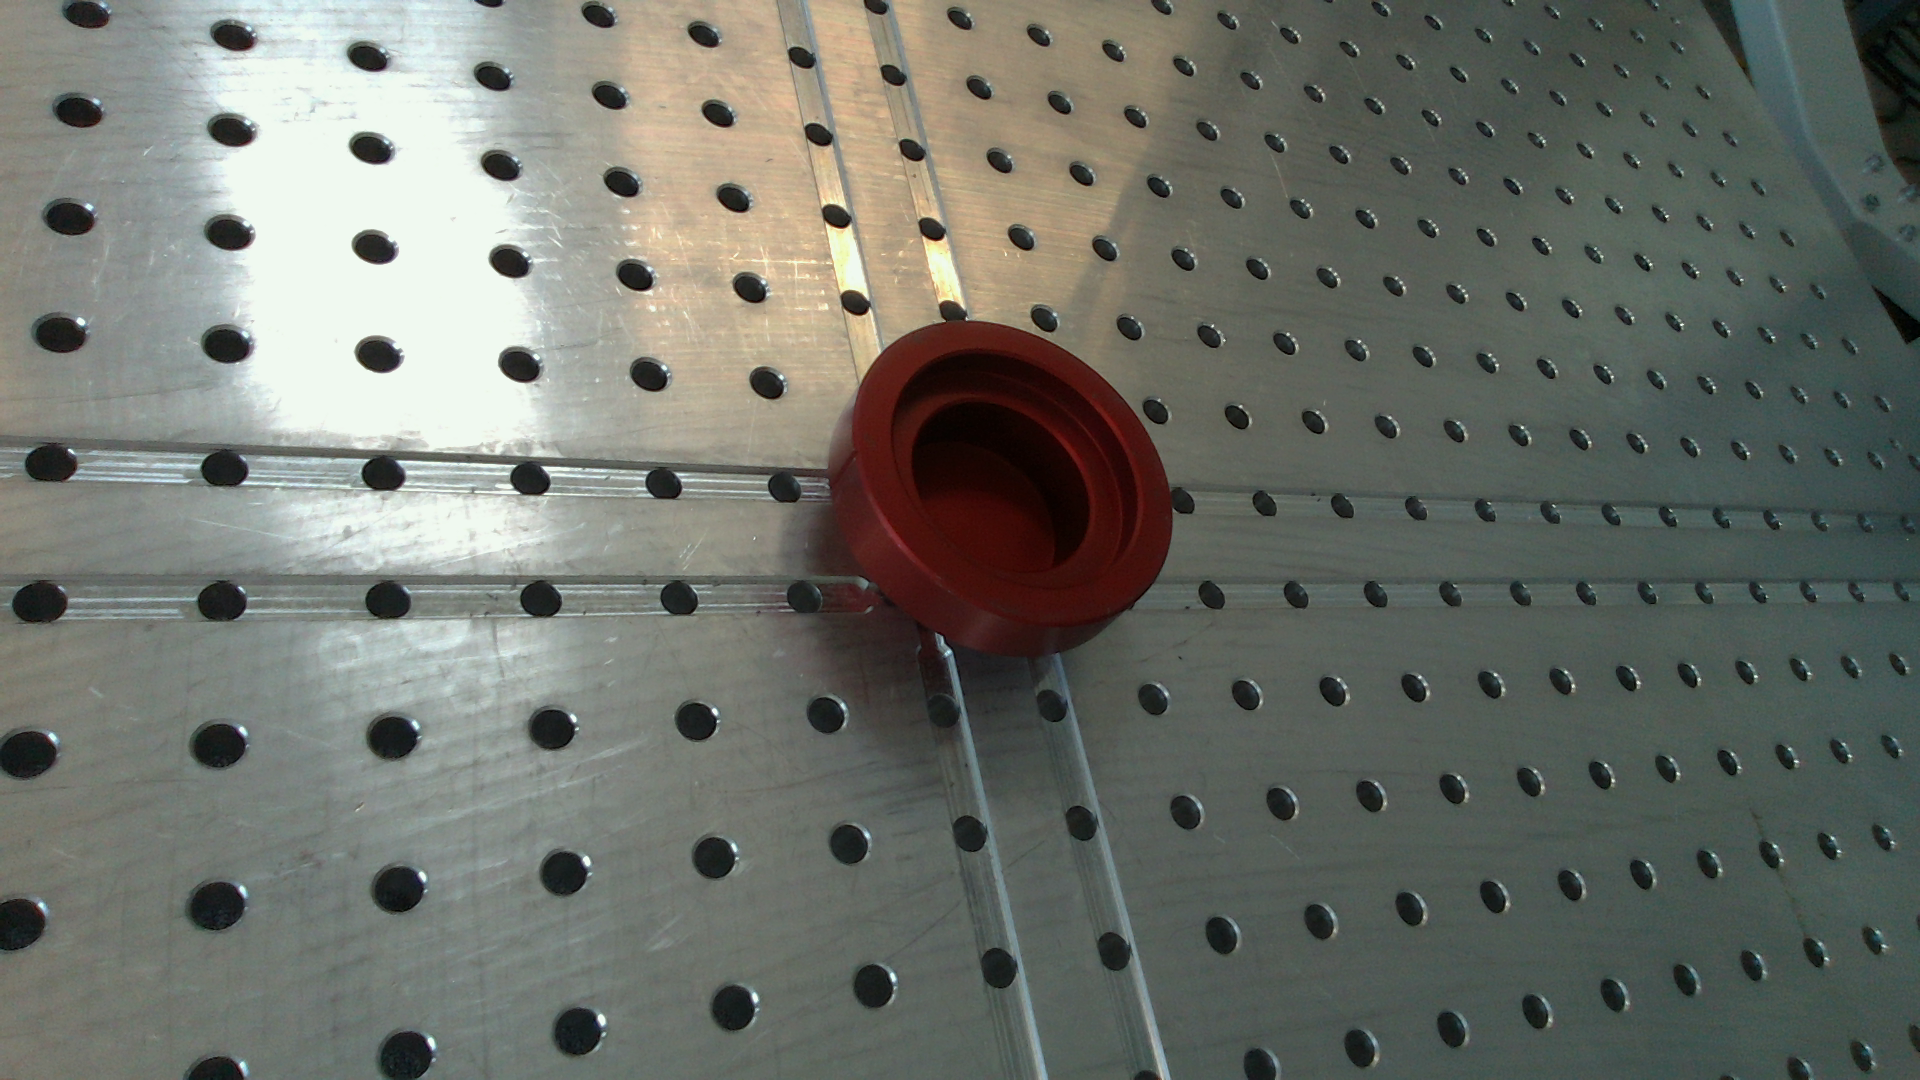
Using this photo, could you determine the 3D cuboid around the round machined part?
[{"bbox_3d":[0.008,-0.011,0.392,0.098,0.042,0.098,14,56,-21],"label":"round machined part"}]
